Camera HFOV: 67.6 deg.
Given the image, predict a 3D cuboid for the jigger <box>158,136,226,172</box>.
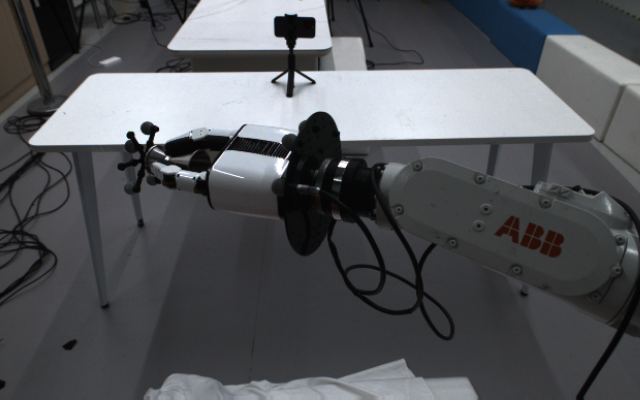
[{"bbox_3d":[-0.171,-0.046,0.599,0.071,0.043,0.043,10,35,21],"label":"jigger"}]
